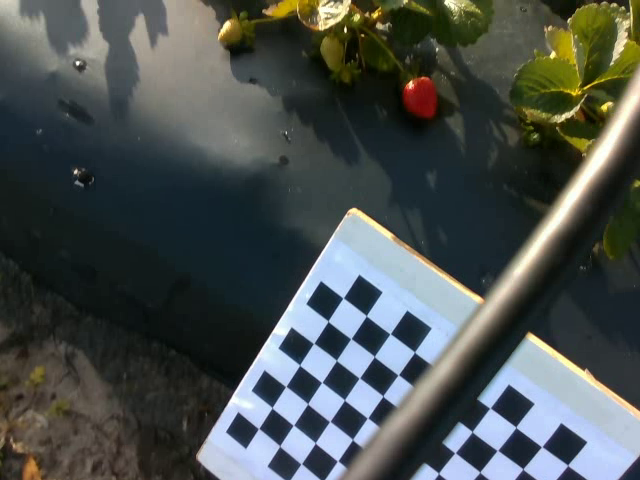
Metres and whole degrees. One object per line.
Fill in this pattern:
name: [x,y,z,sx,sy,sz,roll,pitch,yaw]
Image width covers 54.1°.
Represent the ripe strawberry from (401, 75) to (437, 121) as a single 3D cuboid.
ripe strawberry: [0.085,-0.112,0.508,0.030,0.045,0.033,-28,-30,21]
